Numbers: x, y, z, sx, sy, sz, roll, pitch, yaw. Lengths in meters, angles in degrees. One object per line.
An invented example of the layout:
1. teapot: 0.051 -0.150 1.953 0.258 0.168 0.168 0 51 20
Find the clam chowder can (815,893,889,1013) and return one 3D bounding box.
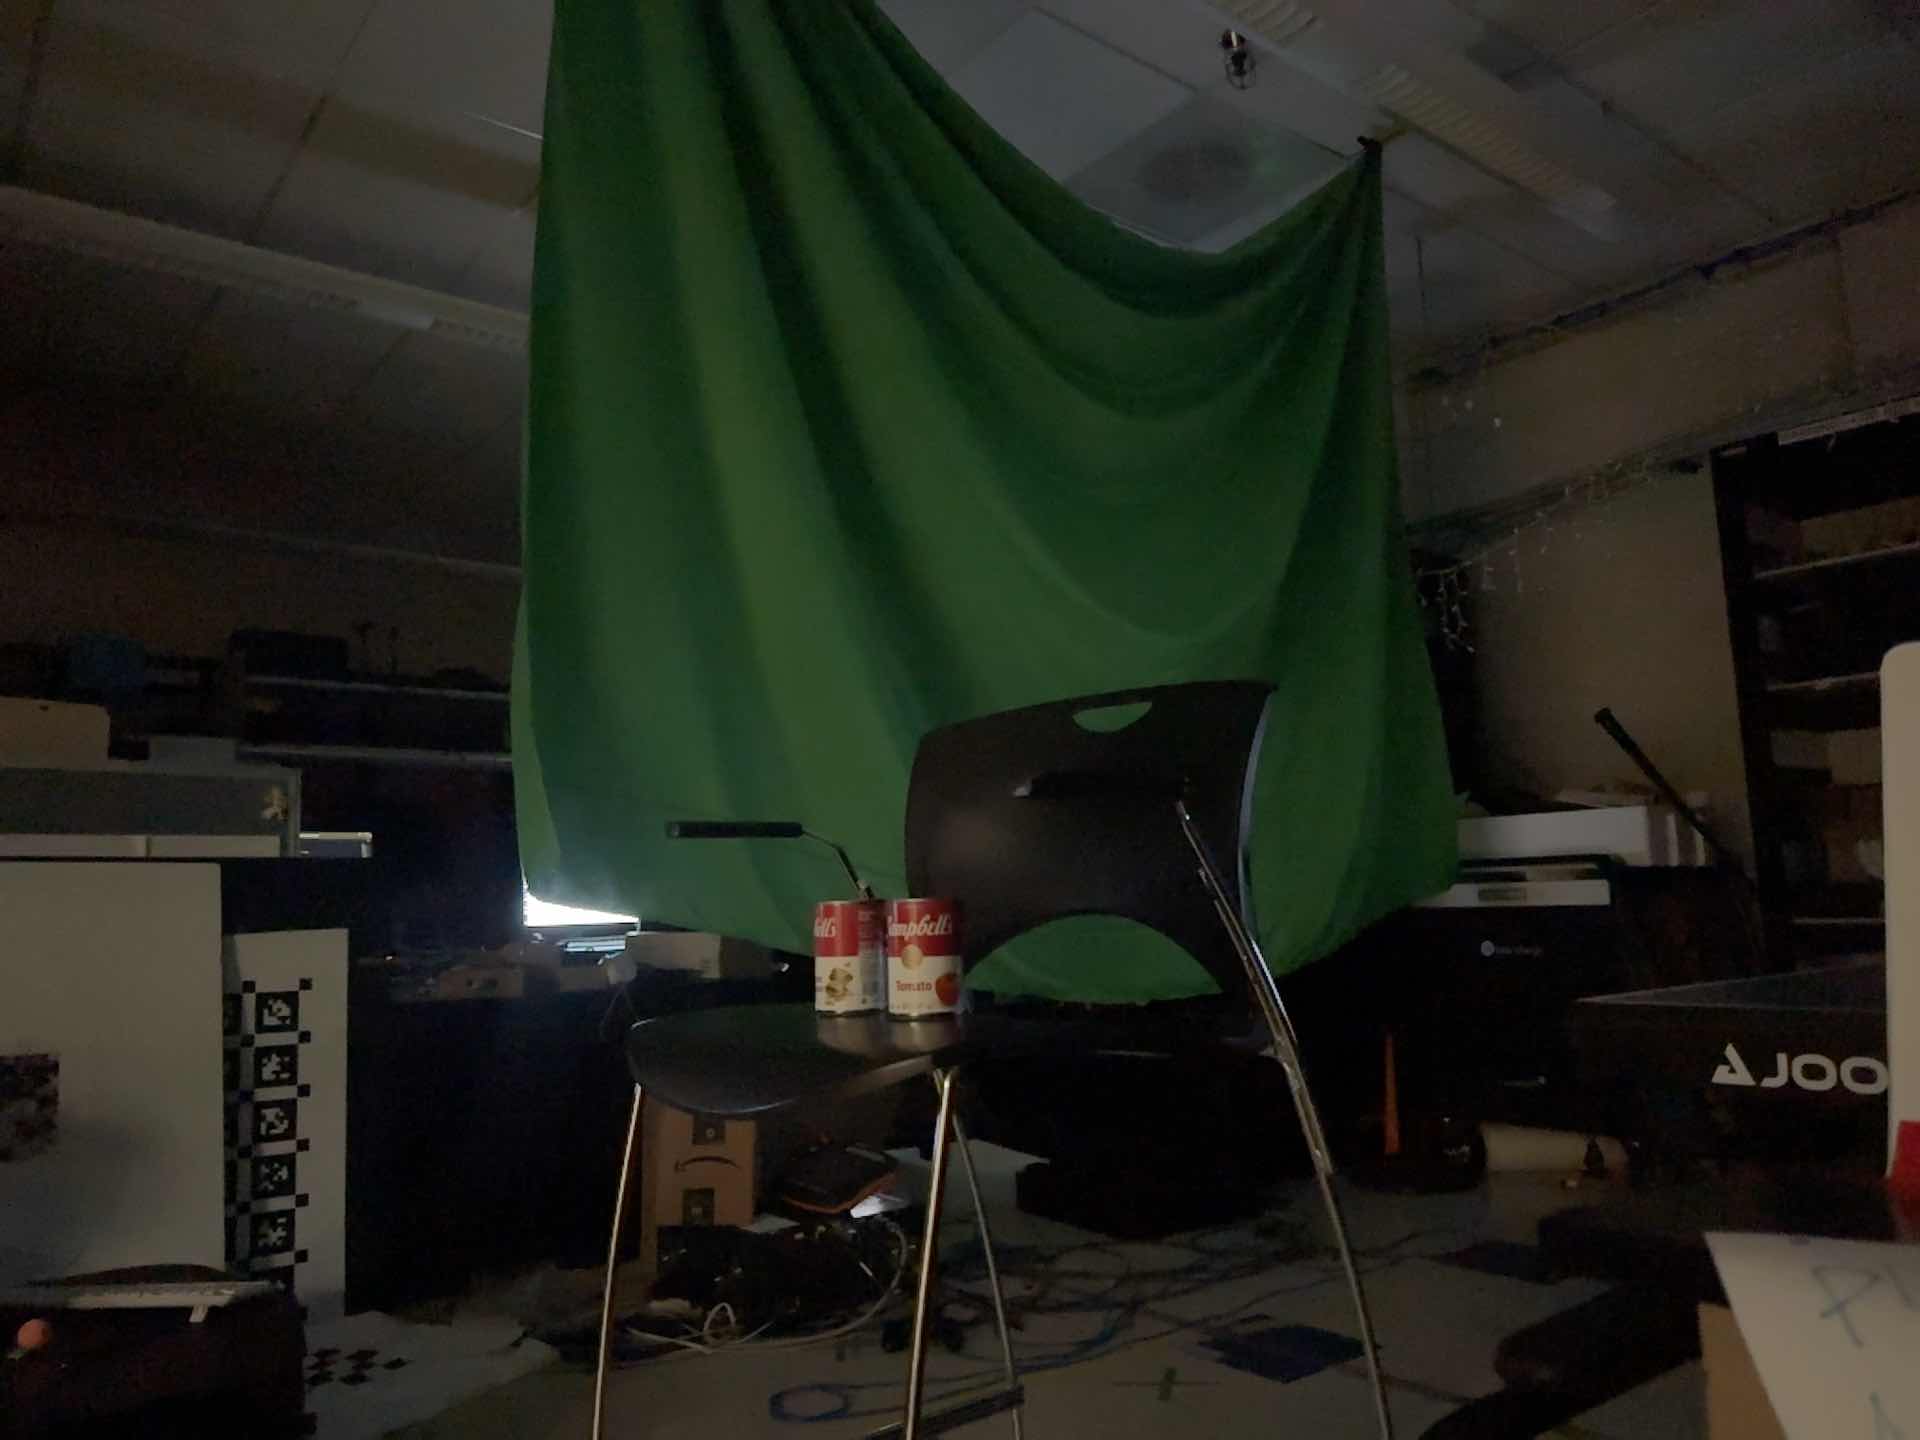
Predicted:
1. clam chowder can: -0.099 0.212 1.239 0.068 0.102 0.068 -1 -3 0

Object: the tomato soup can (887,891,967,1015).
1. tomato soup can: -0.029 0.200 1.166 0.067 0.102 0.067 -1 -4 0
